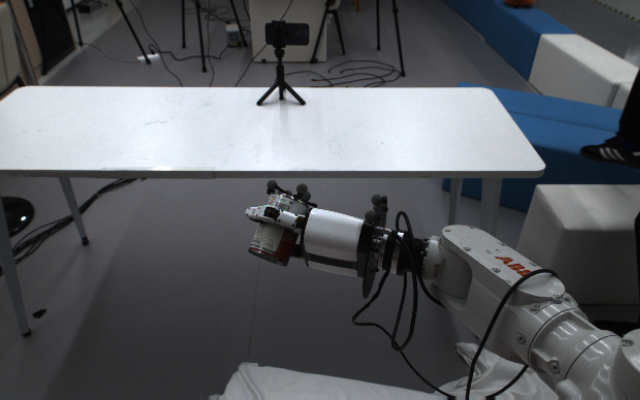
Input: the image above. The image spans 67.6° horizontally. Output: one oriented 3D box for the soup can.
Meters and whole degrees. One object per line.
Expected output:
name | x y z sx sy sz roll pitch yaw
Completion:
soup can | -0.065 0.048 0.770 0.067 0.067 0.101 16 75 19
